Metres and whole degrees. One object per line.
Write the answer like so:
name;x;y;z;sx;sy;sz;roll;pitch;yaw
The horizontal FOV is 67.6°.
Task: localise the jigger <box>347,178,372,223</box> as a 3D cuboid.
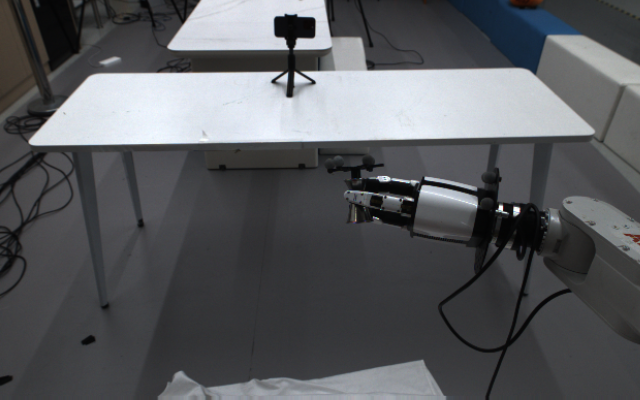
jigger;0.058;0.000;0.752;0.043;0.071;0.043;-4;1;0
